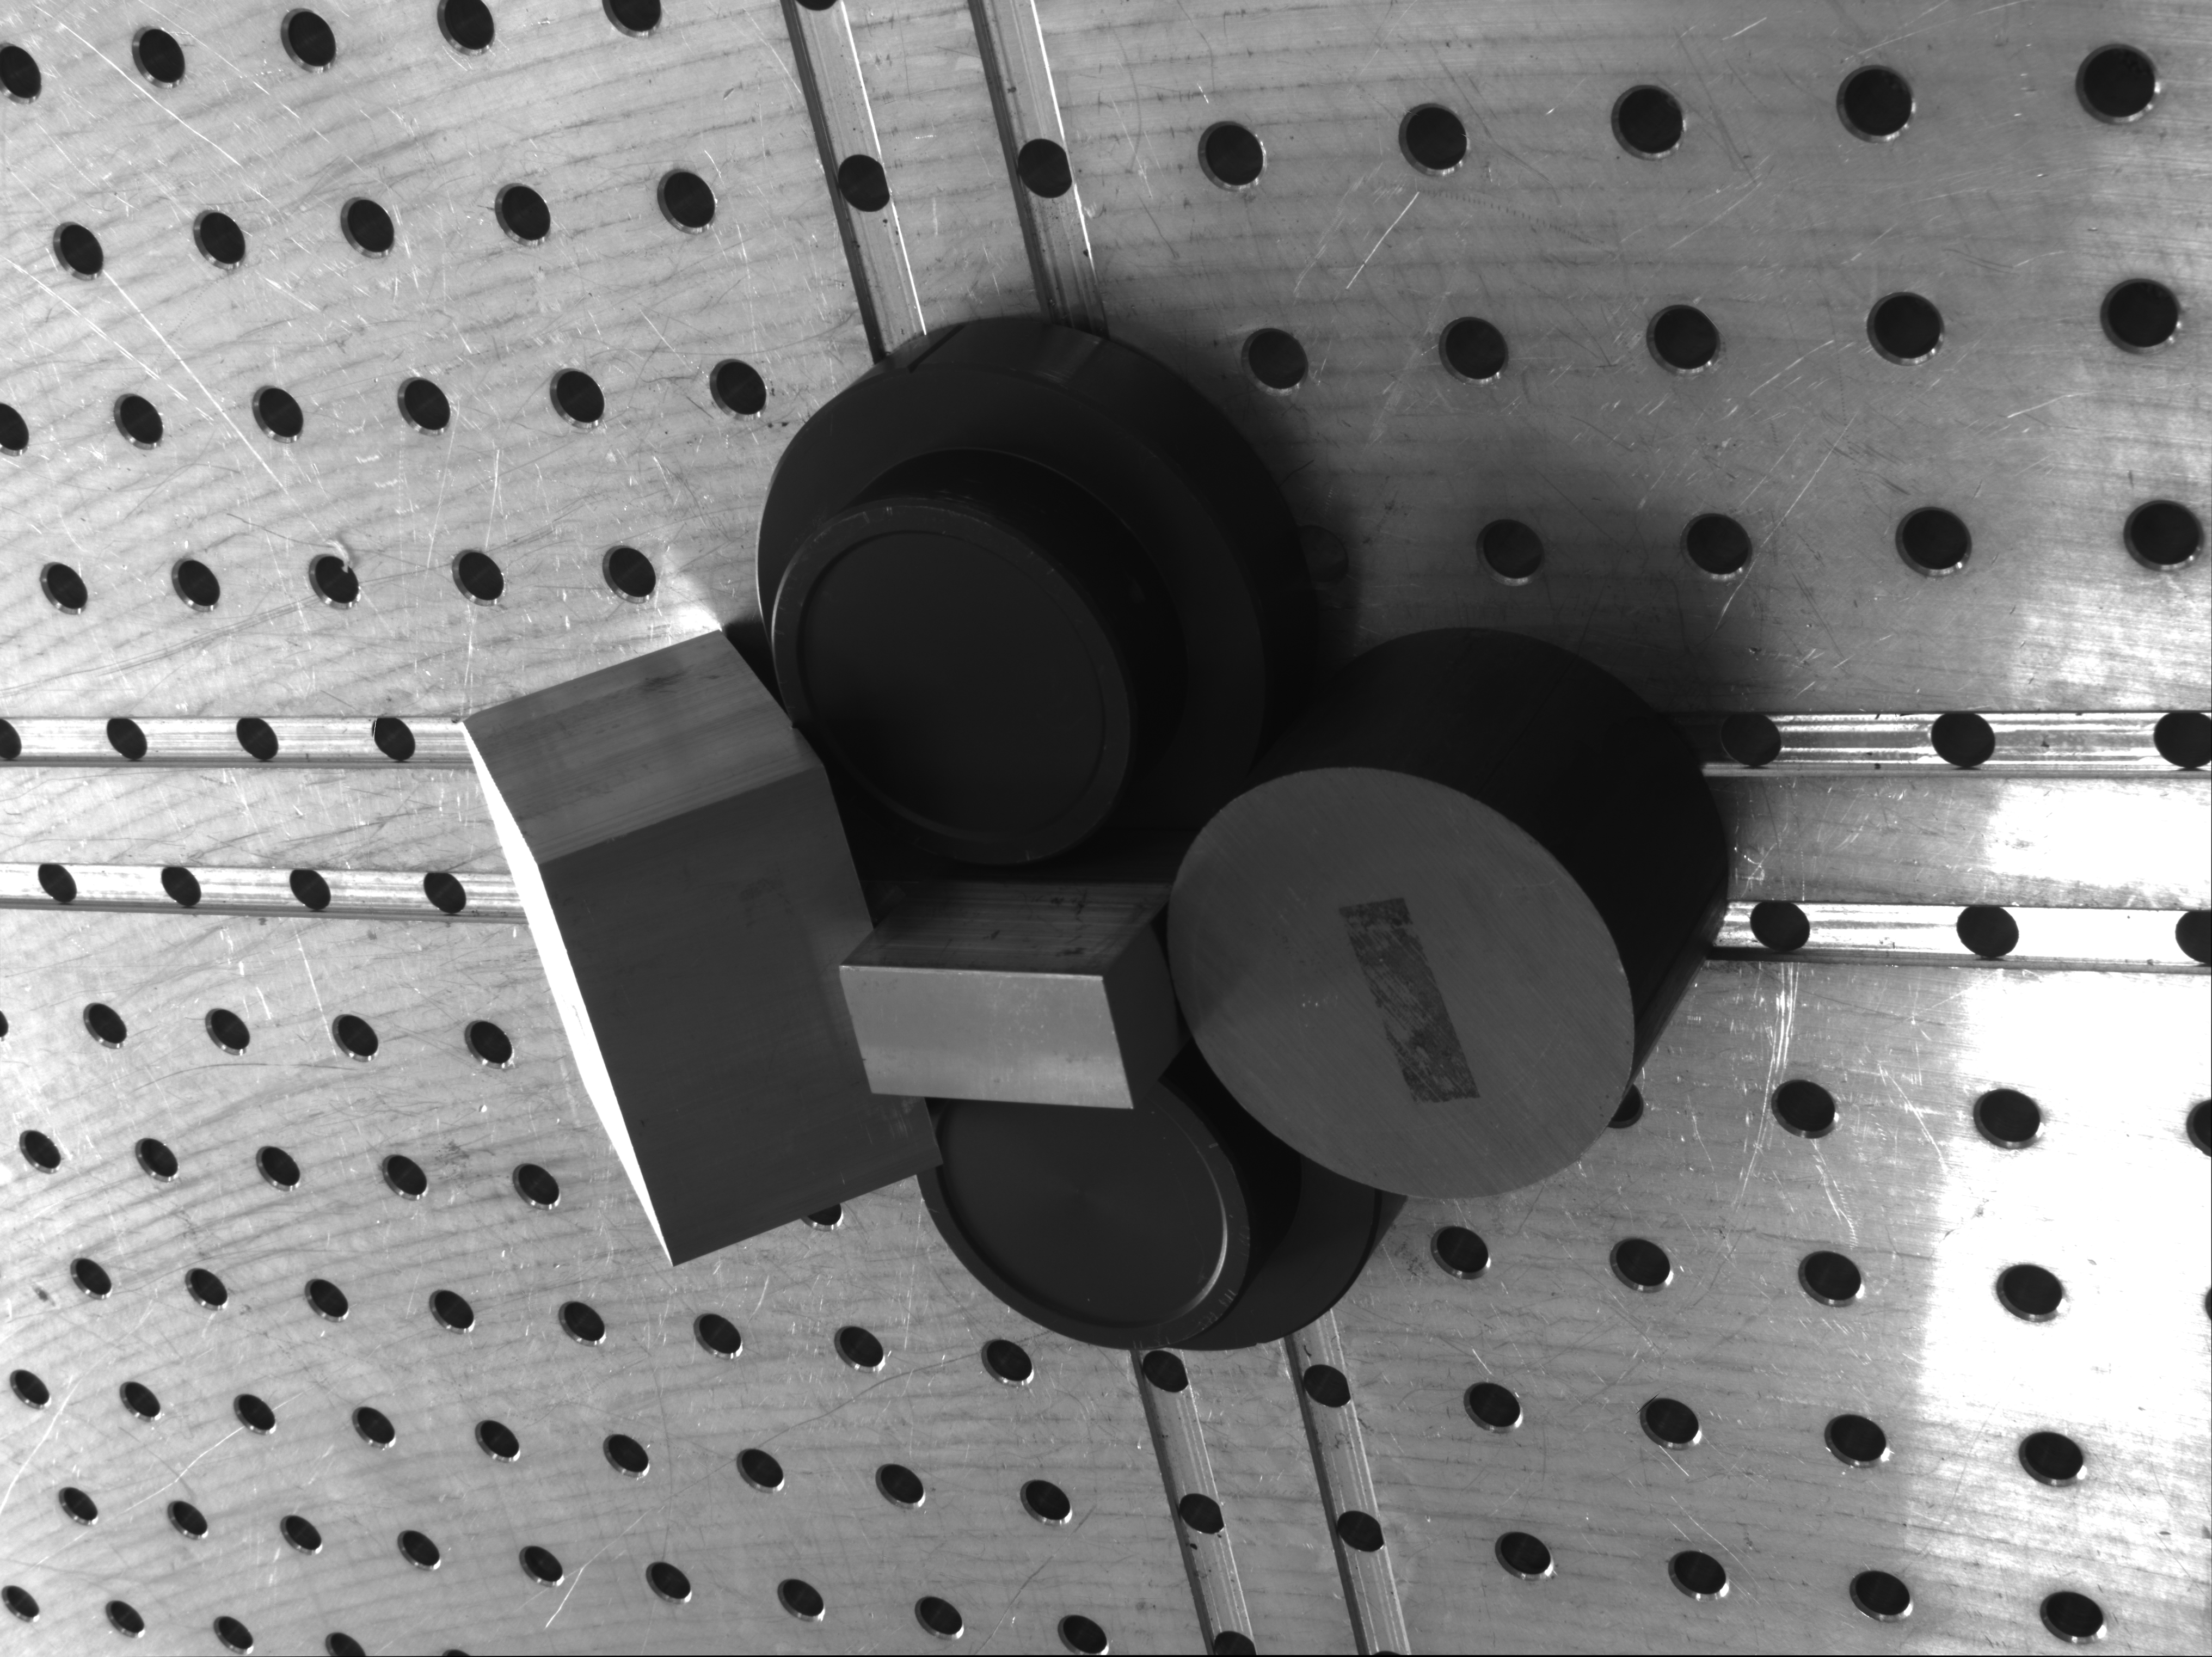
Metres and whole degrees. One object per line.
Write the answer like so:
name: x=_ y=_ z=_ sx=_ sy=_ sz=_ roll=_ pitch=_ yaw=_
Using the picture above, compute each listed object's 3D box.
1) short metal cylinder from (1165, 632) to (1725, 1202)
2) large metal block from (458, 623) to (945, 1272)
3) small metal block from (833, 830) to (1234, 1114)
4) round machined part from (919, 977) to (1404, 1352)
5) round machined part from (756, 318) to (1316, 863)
short metal cylinder: x=0.056 y=0.014 z=0.607 sx=0.080 sy=0.050 sz=0.080 roll=13 pitch=124 yaw=21
large metal block: x=-0.073 y=0.019 z=0.653 sx=0.050 sy=0.080 sz=0.080 roll=-20 pitch=115 yaw=-11
small metal block: x=-0.010 y=0.023 z=0.620 sx=0.050 sy=0.050 sz=0.025 roll=1 pitch=119 yaw=28
round machined part: x=0.004 y=0.055 z=0.666 sx=0.098 sy=0.042 sz=0.098 roll=13 pitch=124 yaw=21
round machined part: x=-0.017 y=-0.033 z=0.624 sx=0.098 sy=0.042 sz=0.098 roll=13 pitch=124 yaw=21
